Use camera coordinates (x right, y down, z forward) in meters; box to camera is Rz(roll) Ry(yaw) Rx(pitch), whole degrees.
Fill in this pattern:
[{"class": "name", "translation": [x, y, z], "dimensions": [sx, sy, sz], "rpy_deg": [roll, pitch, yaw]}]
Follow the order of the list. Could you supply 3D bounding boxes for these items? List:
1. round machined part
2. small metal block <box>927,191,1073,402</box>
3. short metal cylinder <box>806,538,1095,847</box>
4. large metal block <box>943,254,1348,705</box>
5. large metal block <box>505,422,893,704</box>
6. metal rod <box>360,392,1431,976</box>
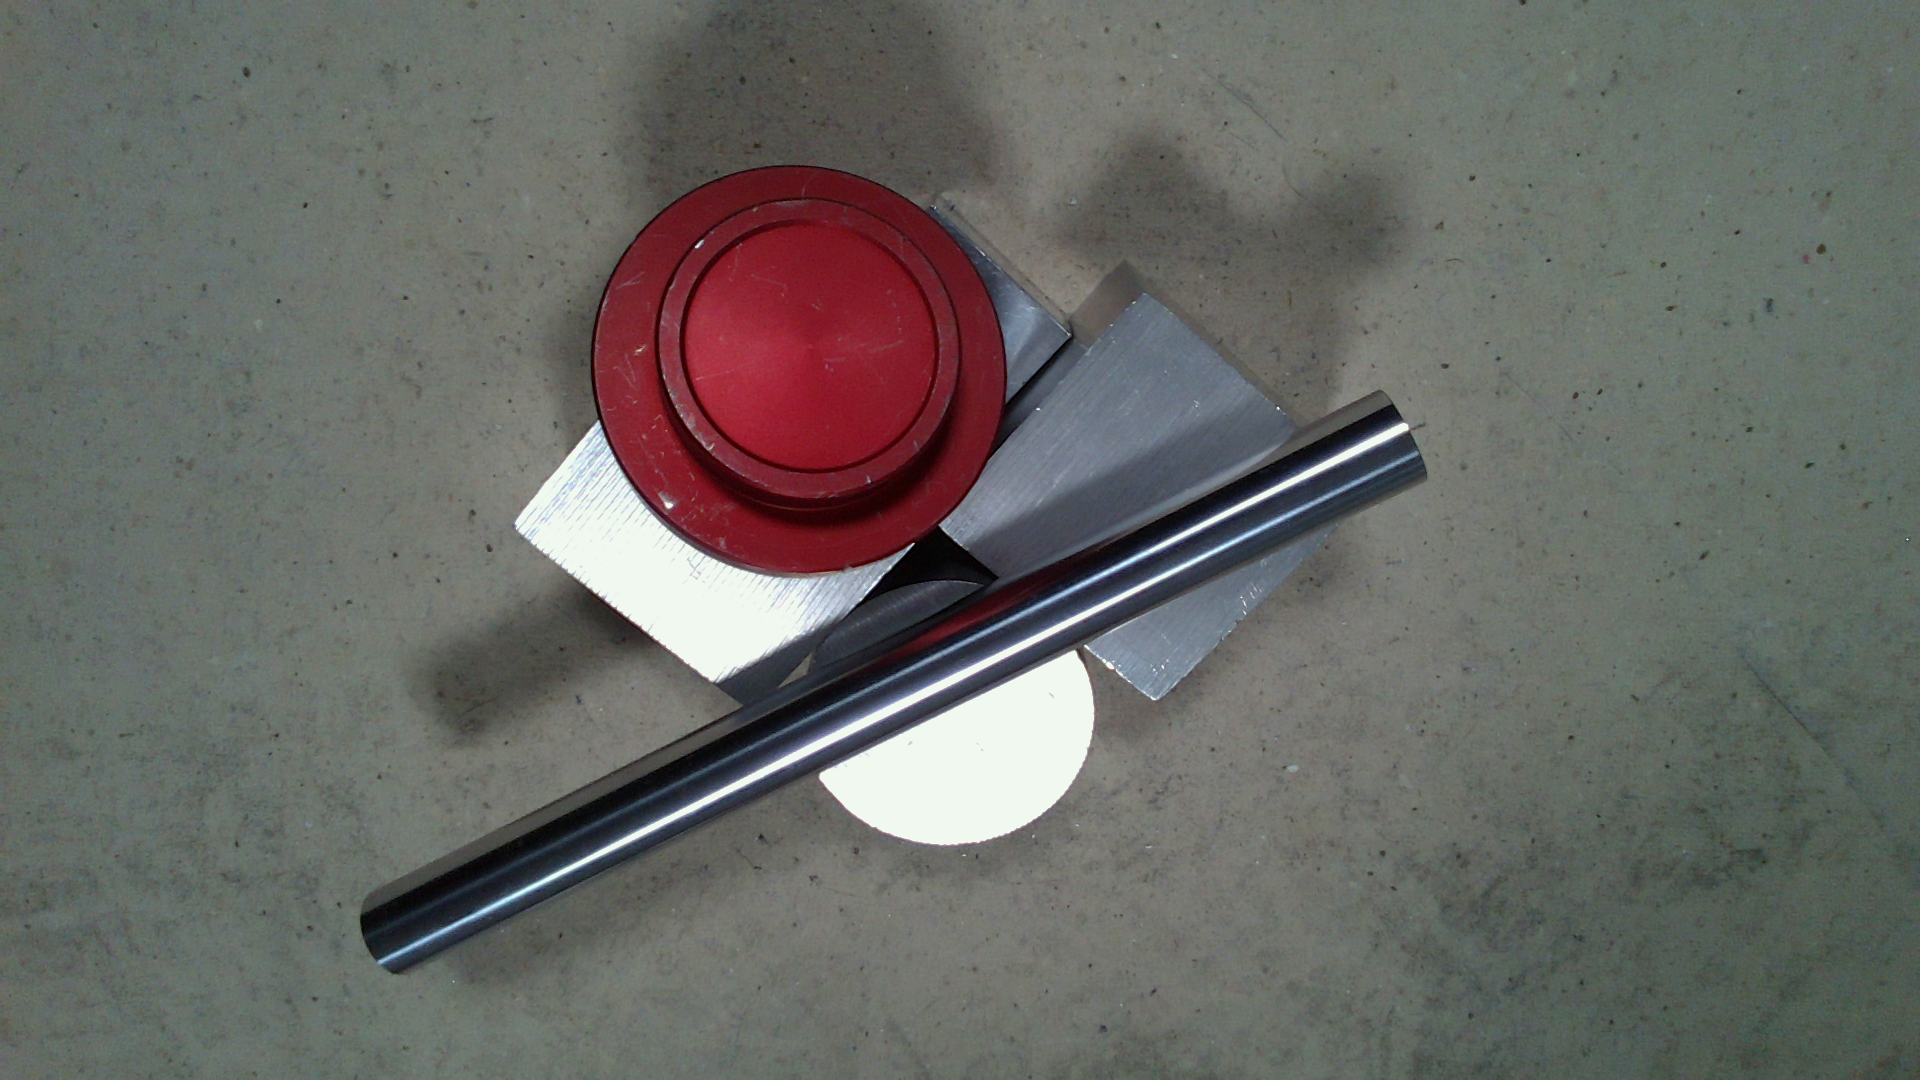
[{"class": "round machined part", "translation": [-0.036, -0.041, 0.322], "dimensions": [0.098, 0.042, 0.098], "rpy_deg": [1, 84, -11]}, {"class": "small metal block", "translation": [-0.005, -0.057, 0.372], "dimensions": [0.050, 0.025, 0.050], "rpy_deg": [41, 105, -14]}, {"class": "short metal cylinder", "translation": [-0.003, 0.040, 0.395], "dimensions": [0.080, 0.050, 0.080], "rpy_deg": [0, 110, 0]}, {"class": "large metal block", "translation": [0.049, -0.017, 0.375], "dimensions": [0.080, 0.050, 0.080], "rpy_deg": [39, 105, -13]}, {"class": "large metal block", "translation": [-0.059, -0.015, 0.374], "dimensions": [0.080, 0.050, 0.080], "rpy_deg": [40, 105, -14]}, {"class": "metal rod", "translation": [-0.025, 0.042, 0.356], "dimensions": [0.300, 0.025, 0.025], "rpy_deg": [-27, 108, 9]}]
